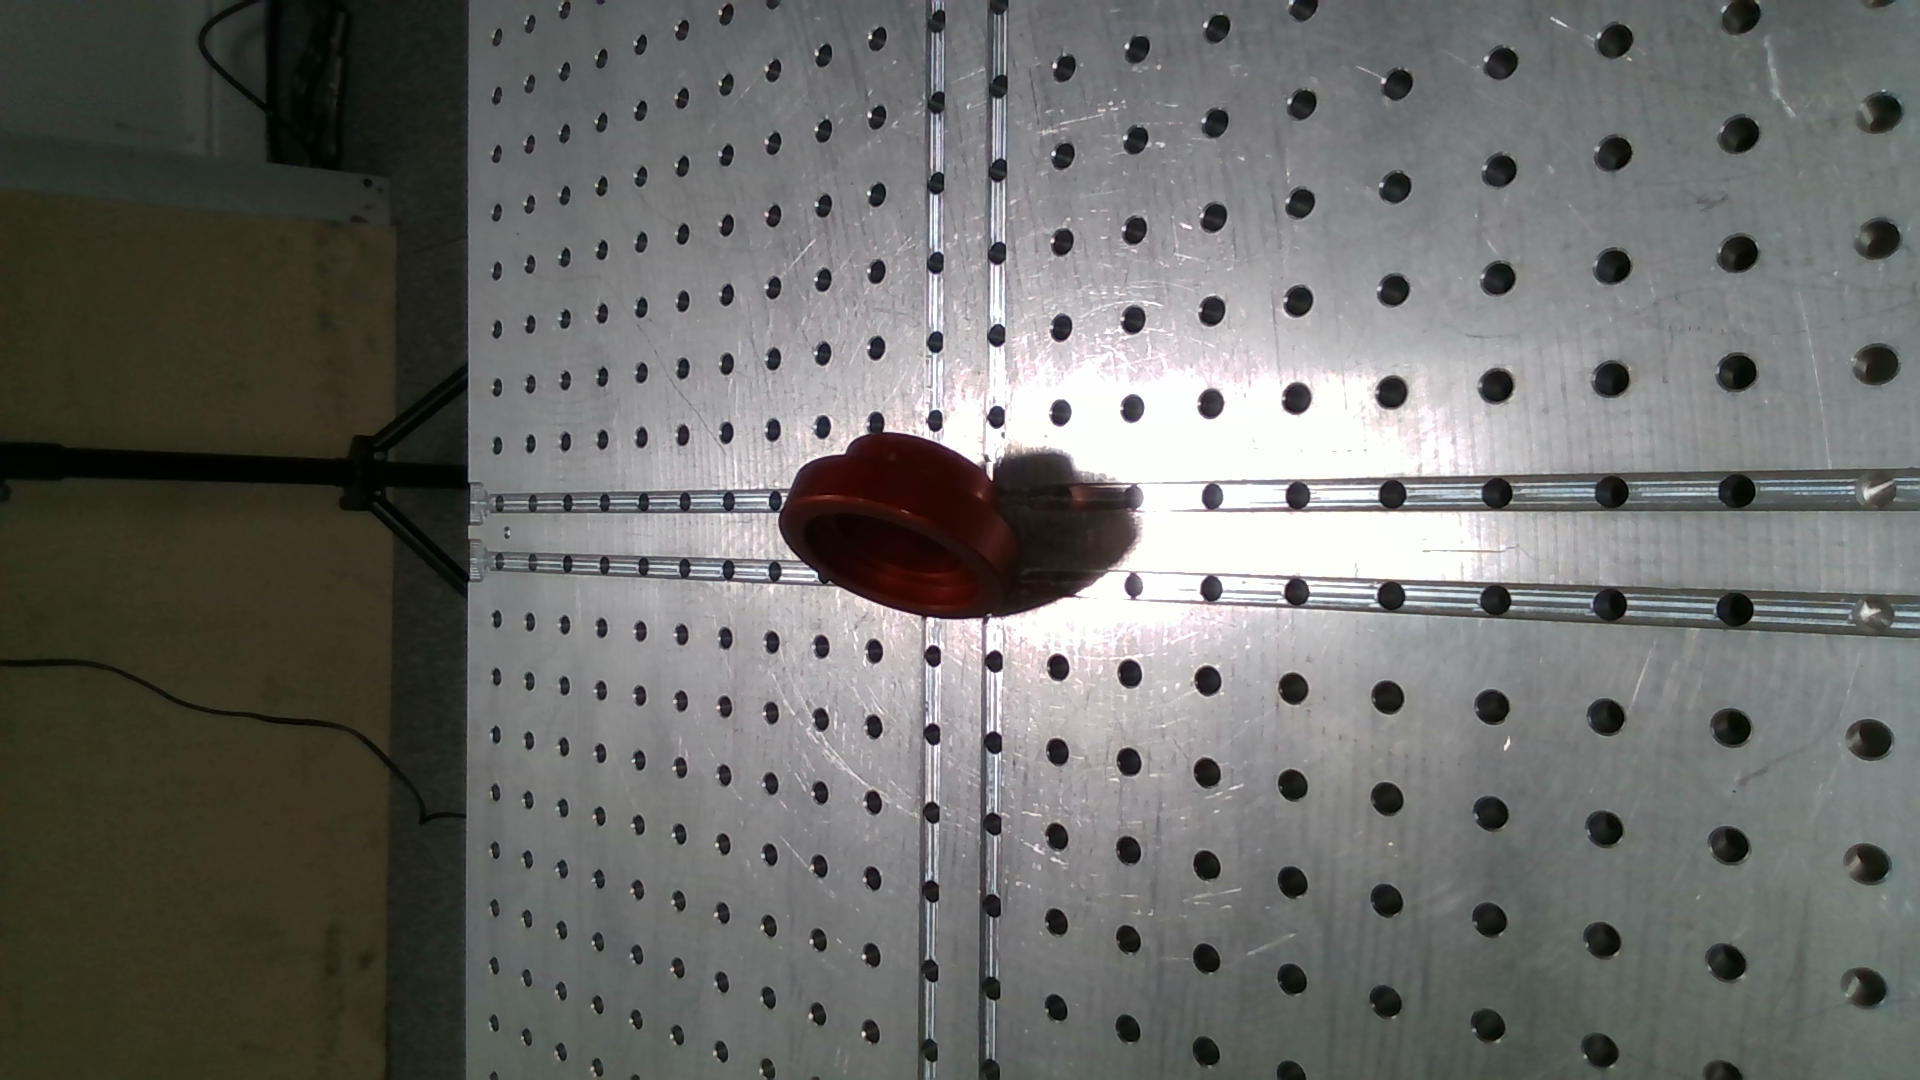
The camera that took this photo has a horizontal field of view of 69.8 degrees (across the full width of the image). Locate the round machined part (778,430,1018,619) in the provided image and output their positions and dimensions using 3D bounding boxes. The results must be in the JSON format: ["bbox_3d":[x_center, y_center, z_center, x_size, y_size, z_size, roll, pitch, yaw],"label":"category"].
[{"bbox_3d":[-0.022,-0.009,0.568,0.098,0.098,0.042,-3,56,40],"label":"round machined part"}]
